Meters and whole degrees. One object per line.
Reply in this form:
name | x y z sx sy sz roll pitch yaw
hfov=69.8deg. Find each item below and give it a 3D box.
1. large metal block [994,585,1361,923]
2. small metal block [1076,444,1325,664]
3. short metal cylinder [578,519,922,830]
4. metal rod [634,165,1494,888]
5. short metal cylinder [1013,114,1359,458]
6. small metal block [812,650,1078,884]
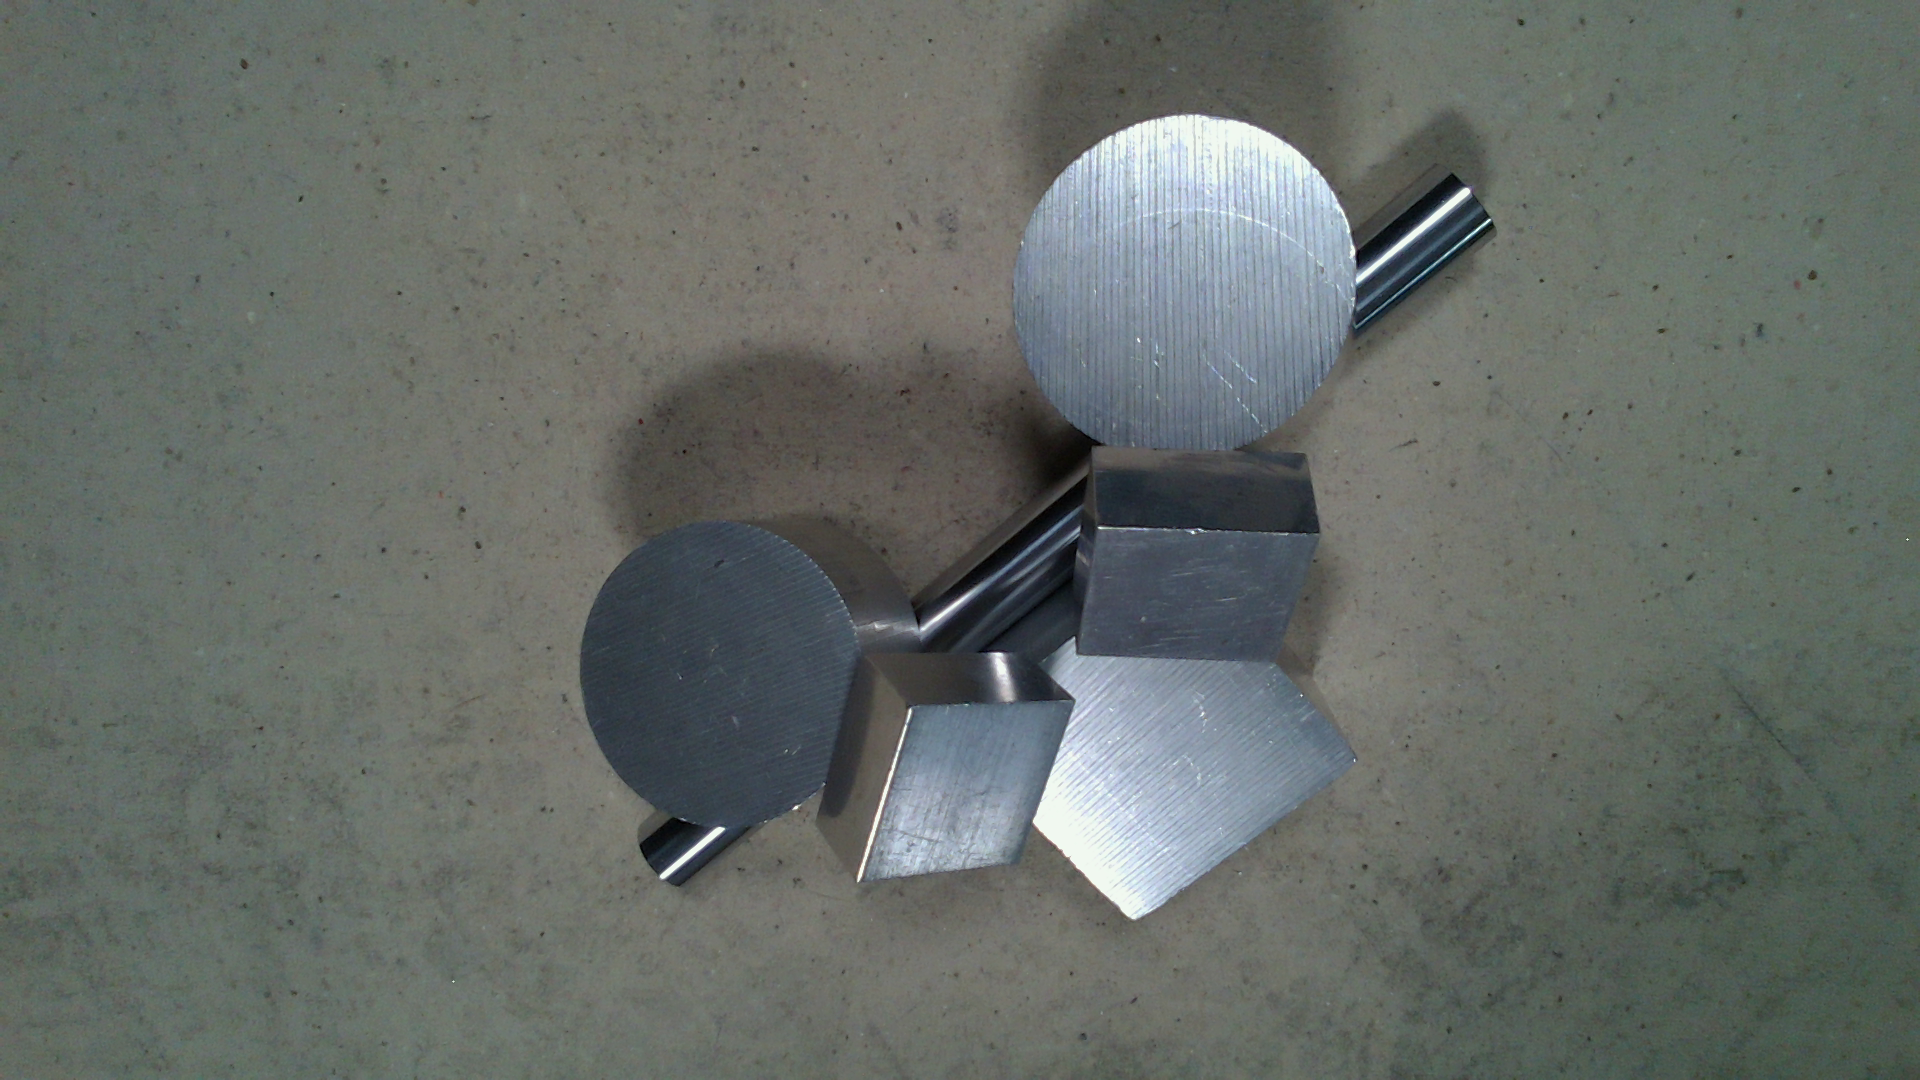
large metal block | 0.053 0.048 0.397 0.080 0.050 0.080 -40 106 13
small metal block | 0.055 0.004 0.329 0.050 0.025 0.050 2 141 -1
short metal cylinder | -0.056 0.034 0.378 0.080 0.050 0.080 0 92 16
metal rod | 0.020 0.004 0.395 0.300 0.025 0.025 -40 105 13
short metal cylinder | 0.058 -0.059 0.343 0.080 0.050 0.080 0 92 16
small metal block | -0.004 0.056 0.349 0.050 0.025 0.050 2 114 -35
